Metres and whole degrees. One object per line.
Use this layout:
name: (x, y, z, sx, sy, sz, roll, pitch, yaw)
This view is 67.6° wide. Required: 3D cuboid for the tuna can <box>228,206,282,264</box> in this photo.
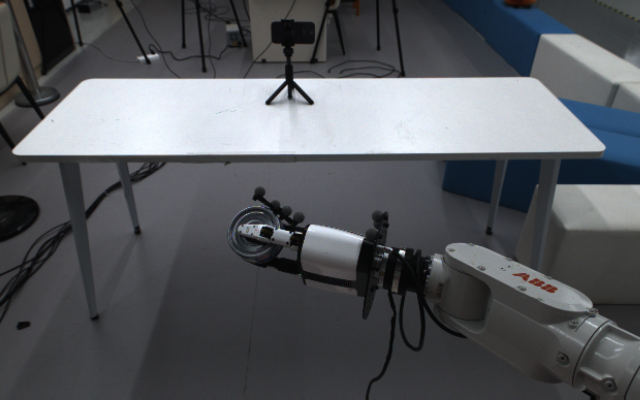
tuna can: (-0.095, 0.059, 0.744, 0.085, 0.034, 0.085, -4, 69, 10)
